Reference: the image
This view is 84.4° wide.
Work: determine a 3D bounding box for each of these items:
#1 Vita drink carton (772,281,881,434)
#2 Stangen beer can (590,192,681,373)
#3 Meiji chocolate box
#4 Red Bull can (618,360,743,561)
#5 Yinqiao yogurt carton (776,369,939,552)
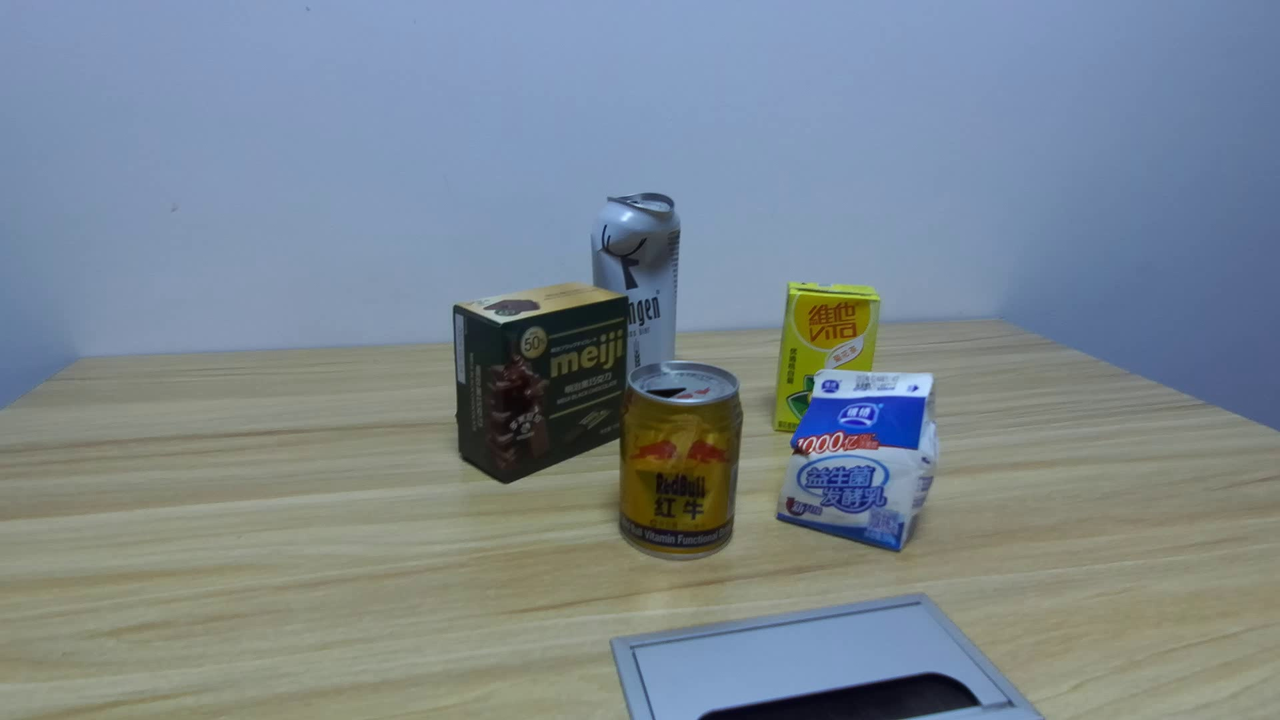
[{"bbox_3d":[0.136,0.000,0.526,0.066,0.109,0.043,5,16,8],"label":"Vita drink carton"},{"bbox_3d":[-0.003,-0.052,0.579,0.066,0.162,0.077,3,21,6],"label":"Stangen beer can"},{"bbox_3d":[-0.064,0.011,0.482,0.056,0.109,0.110,20,26,41],"label":"Meiji chocolate box"},{"bbox_3d":[0.022,0.053,0.391,0.069,0.092,0.069,2,19,0],"label":"Red Bull can"},{"bbox_3d":[0.132,0.047,0.414,0.083,0.093,0.077,11,22,24],"label":"Yinqiao yogurt carton"}]
